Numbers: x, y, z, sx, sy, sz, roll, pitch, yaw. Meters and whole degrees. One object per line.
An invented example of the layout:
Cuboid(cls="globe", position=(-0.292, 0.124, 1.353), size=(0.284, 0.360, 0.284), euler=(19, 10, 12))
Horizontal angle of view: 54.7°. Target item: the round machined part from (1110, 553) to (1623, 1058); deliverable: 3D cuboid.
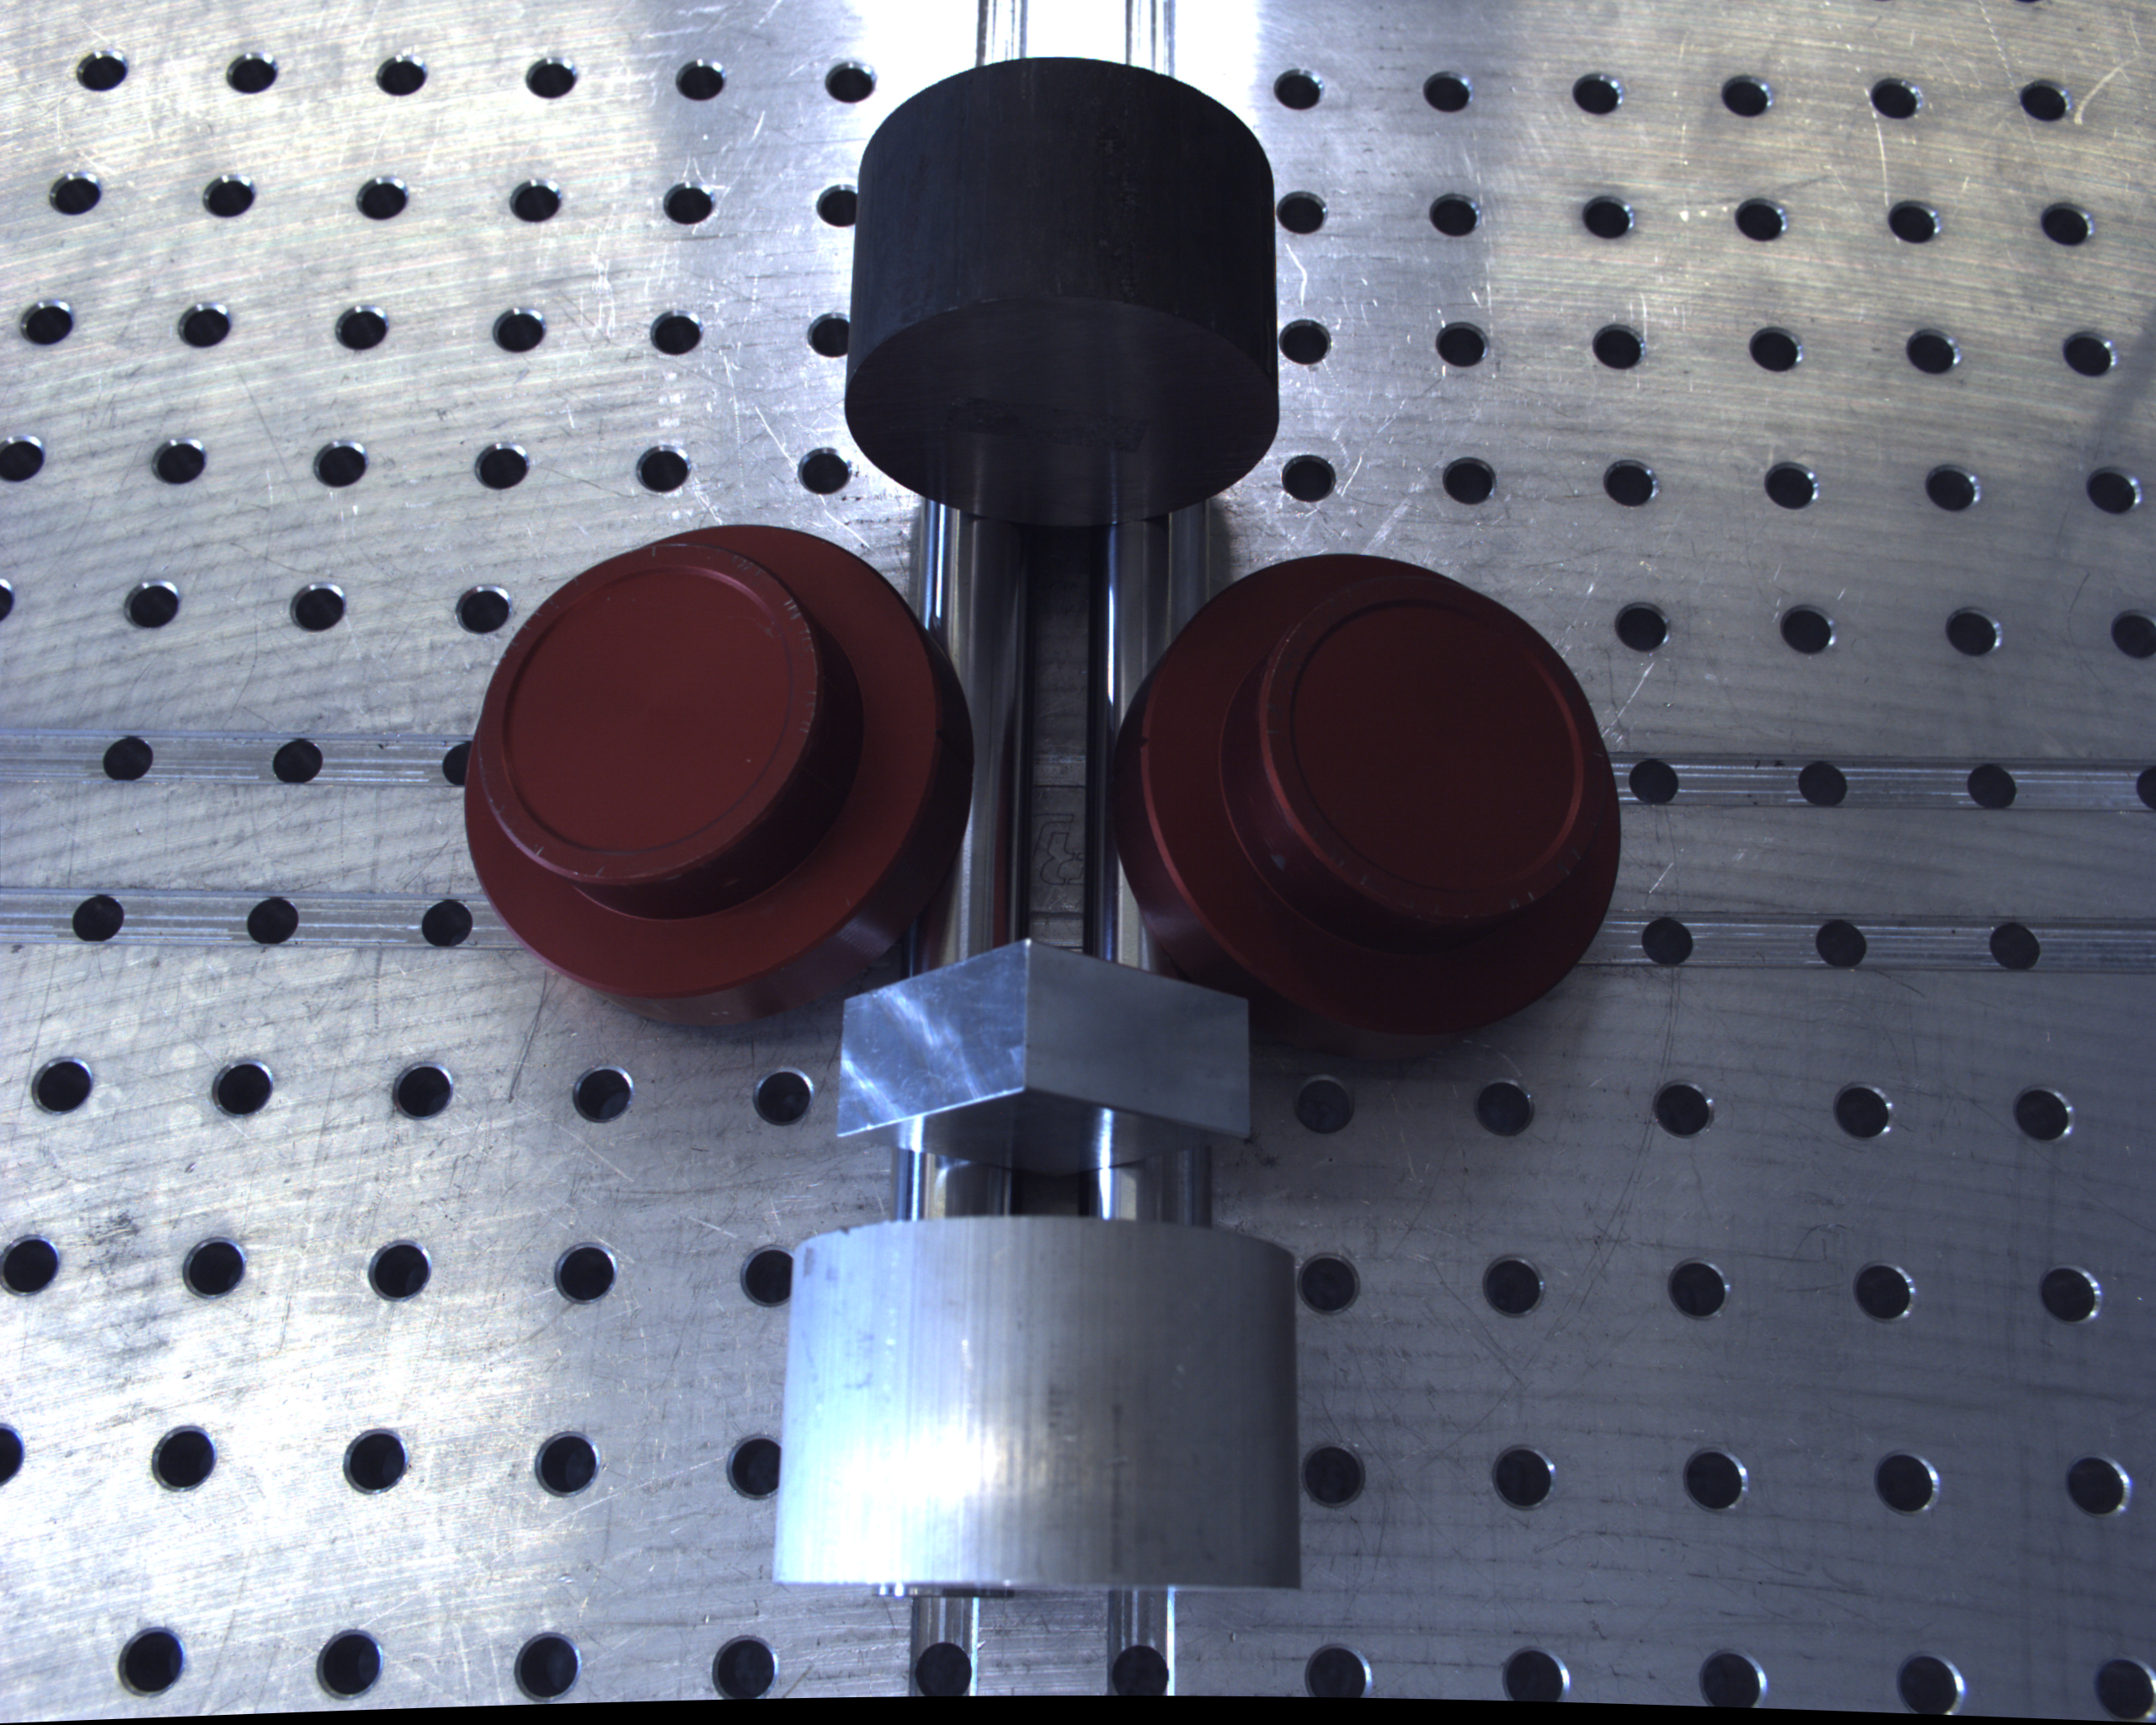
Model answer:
Cuboid(cls="round machined part", position=(0.059, -0.015, 0.394), size=(0.099, 0.042, 0.098), euler=(5, 70, -14))

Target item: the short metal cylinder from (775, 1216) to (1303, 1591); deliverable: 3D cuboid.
Cuboid(cls="short metal cylinder", position=(-0.006, 0.087, 0.327), size=(0.080, 0.080, 0.050), euler=(1, 70, 0))

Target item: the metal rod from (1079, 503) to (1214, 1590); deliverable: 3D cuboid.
Cuboid(cls="metal rod", position=(0.014, -0.013, 0.416), size=(0.025, 0.025, 0.299), euler=(1, 70, 0))

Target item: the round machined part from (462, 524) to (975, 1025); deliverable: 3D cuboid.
Cuboid(cls="round machined part", position=(-0.073, -0.021, 0.397), size=(0.098, 0.042, 0.098), euler=(-5, 69, 13))

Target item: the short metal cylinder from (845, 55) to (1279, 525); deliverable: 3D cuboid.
Cuboid(cls="short metal cylinder", position=(-0.003, -0.106, 0.398), size=(0.080, 0.080, 0.050), euler=(1, 70, 0))

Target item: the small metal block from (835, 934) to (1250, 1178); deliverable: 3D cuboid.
Cuboid(cls="small metal block", position=(-0.006, 0.035, 0.361), size=(0.050, 0.050, 0.025), euler=(18, 64, -38))

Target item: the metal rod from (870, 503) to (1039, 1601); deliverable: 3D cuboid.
Cuboid(cls="metal rod", position=(-0.021, -0.012, 0.415), size=(0.025, 0.025, 0.299), euler=(1, 70, 0))
